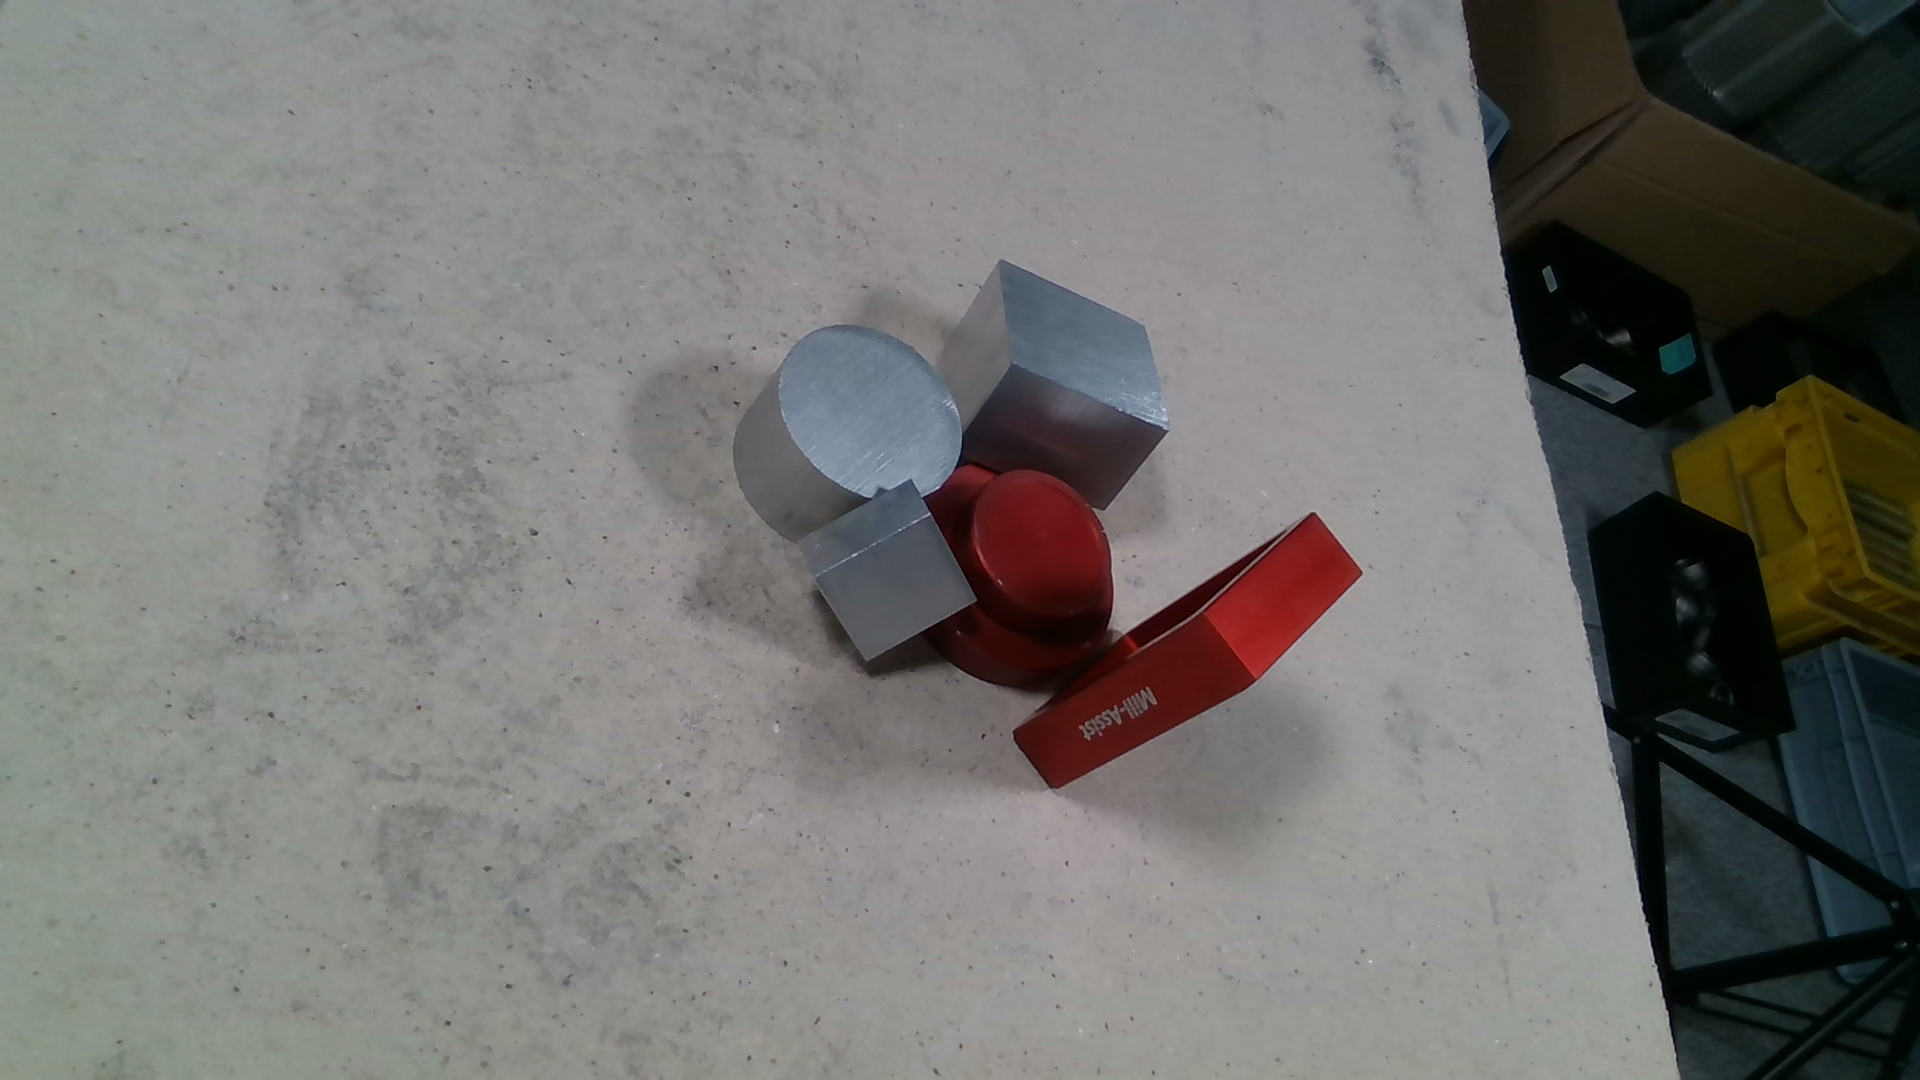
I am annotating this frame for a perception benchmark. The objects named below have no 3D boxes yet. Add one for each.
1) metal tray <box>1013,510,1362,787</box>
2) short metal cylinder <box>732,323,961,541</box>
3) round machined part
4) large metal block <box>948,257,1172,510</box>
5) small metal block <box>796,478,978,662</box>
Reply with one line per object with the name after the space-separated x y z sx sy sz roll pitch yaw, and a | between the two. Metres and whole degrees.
0.087 0.045 0.547 0.090 0.130 0.030 -36 87 -39 | metal tray
-0.047 -0.041 0.564 0.080 0.050 0.080 14 59 -25 | short metal cylinder
0.025 0.010 0.587 0.098 0.042 0.098 14 59 -25 | round machined part
0.042 -0.070 0.617 0.080 0.050 0.080 21 39 -21 | large metal block
-0.028 0.012 0.532 0.050 0.050 0.025 -29 41 -1 | small metal block
